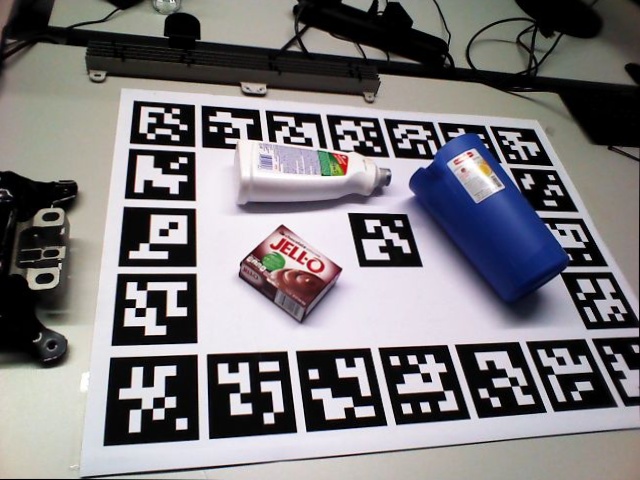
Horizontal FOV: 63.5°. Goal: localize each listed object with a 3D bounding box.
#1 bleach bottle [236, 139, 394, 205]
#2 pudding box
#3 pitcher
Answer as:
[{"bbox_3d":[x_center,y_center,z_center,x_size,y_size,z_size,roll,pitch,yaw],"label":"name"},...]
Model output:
[{"bbox_3d":[0.001,-0.105,0.804,0.250,0.068,0.102,0,60,-16],"label":"bleach bottle"},{"bbox_3d":[-0.040,0.040,0.699,0.114,0.039,0.089,39,50,13],"label":"pudding box"},{"bbox_3d":[0.269,-0.019,0.789,0.188,0.134,0.242,3,51,-56],"label":"pitcher"}]
